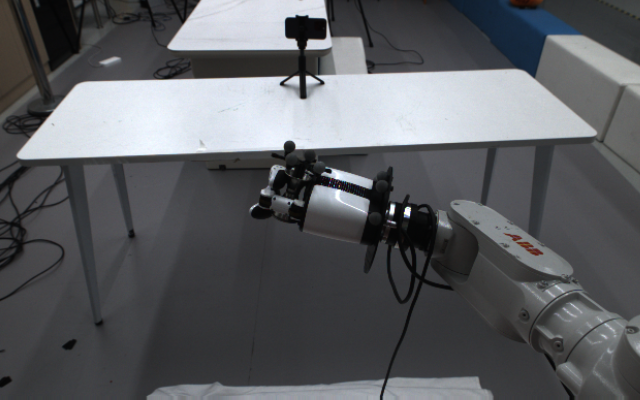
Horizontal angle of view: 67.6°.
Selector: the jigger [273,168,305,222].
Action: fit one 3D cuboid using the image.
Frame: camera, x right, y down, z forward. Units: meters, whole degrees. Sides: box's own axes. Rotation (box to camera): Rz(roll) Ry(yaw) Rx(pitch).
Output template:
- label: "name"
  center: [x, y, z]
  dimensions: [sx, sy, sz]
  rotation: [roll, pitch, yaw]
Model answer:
- label: "jigger"
  center: [-0.040, -0.006, 0.700]
  dimensions: [0.043, 0.071, 0.043]
  rotation: [18, 17, -6]
